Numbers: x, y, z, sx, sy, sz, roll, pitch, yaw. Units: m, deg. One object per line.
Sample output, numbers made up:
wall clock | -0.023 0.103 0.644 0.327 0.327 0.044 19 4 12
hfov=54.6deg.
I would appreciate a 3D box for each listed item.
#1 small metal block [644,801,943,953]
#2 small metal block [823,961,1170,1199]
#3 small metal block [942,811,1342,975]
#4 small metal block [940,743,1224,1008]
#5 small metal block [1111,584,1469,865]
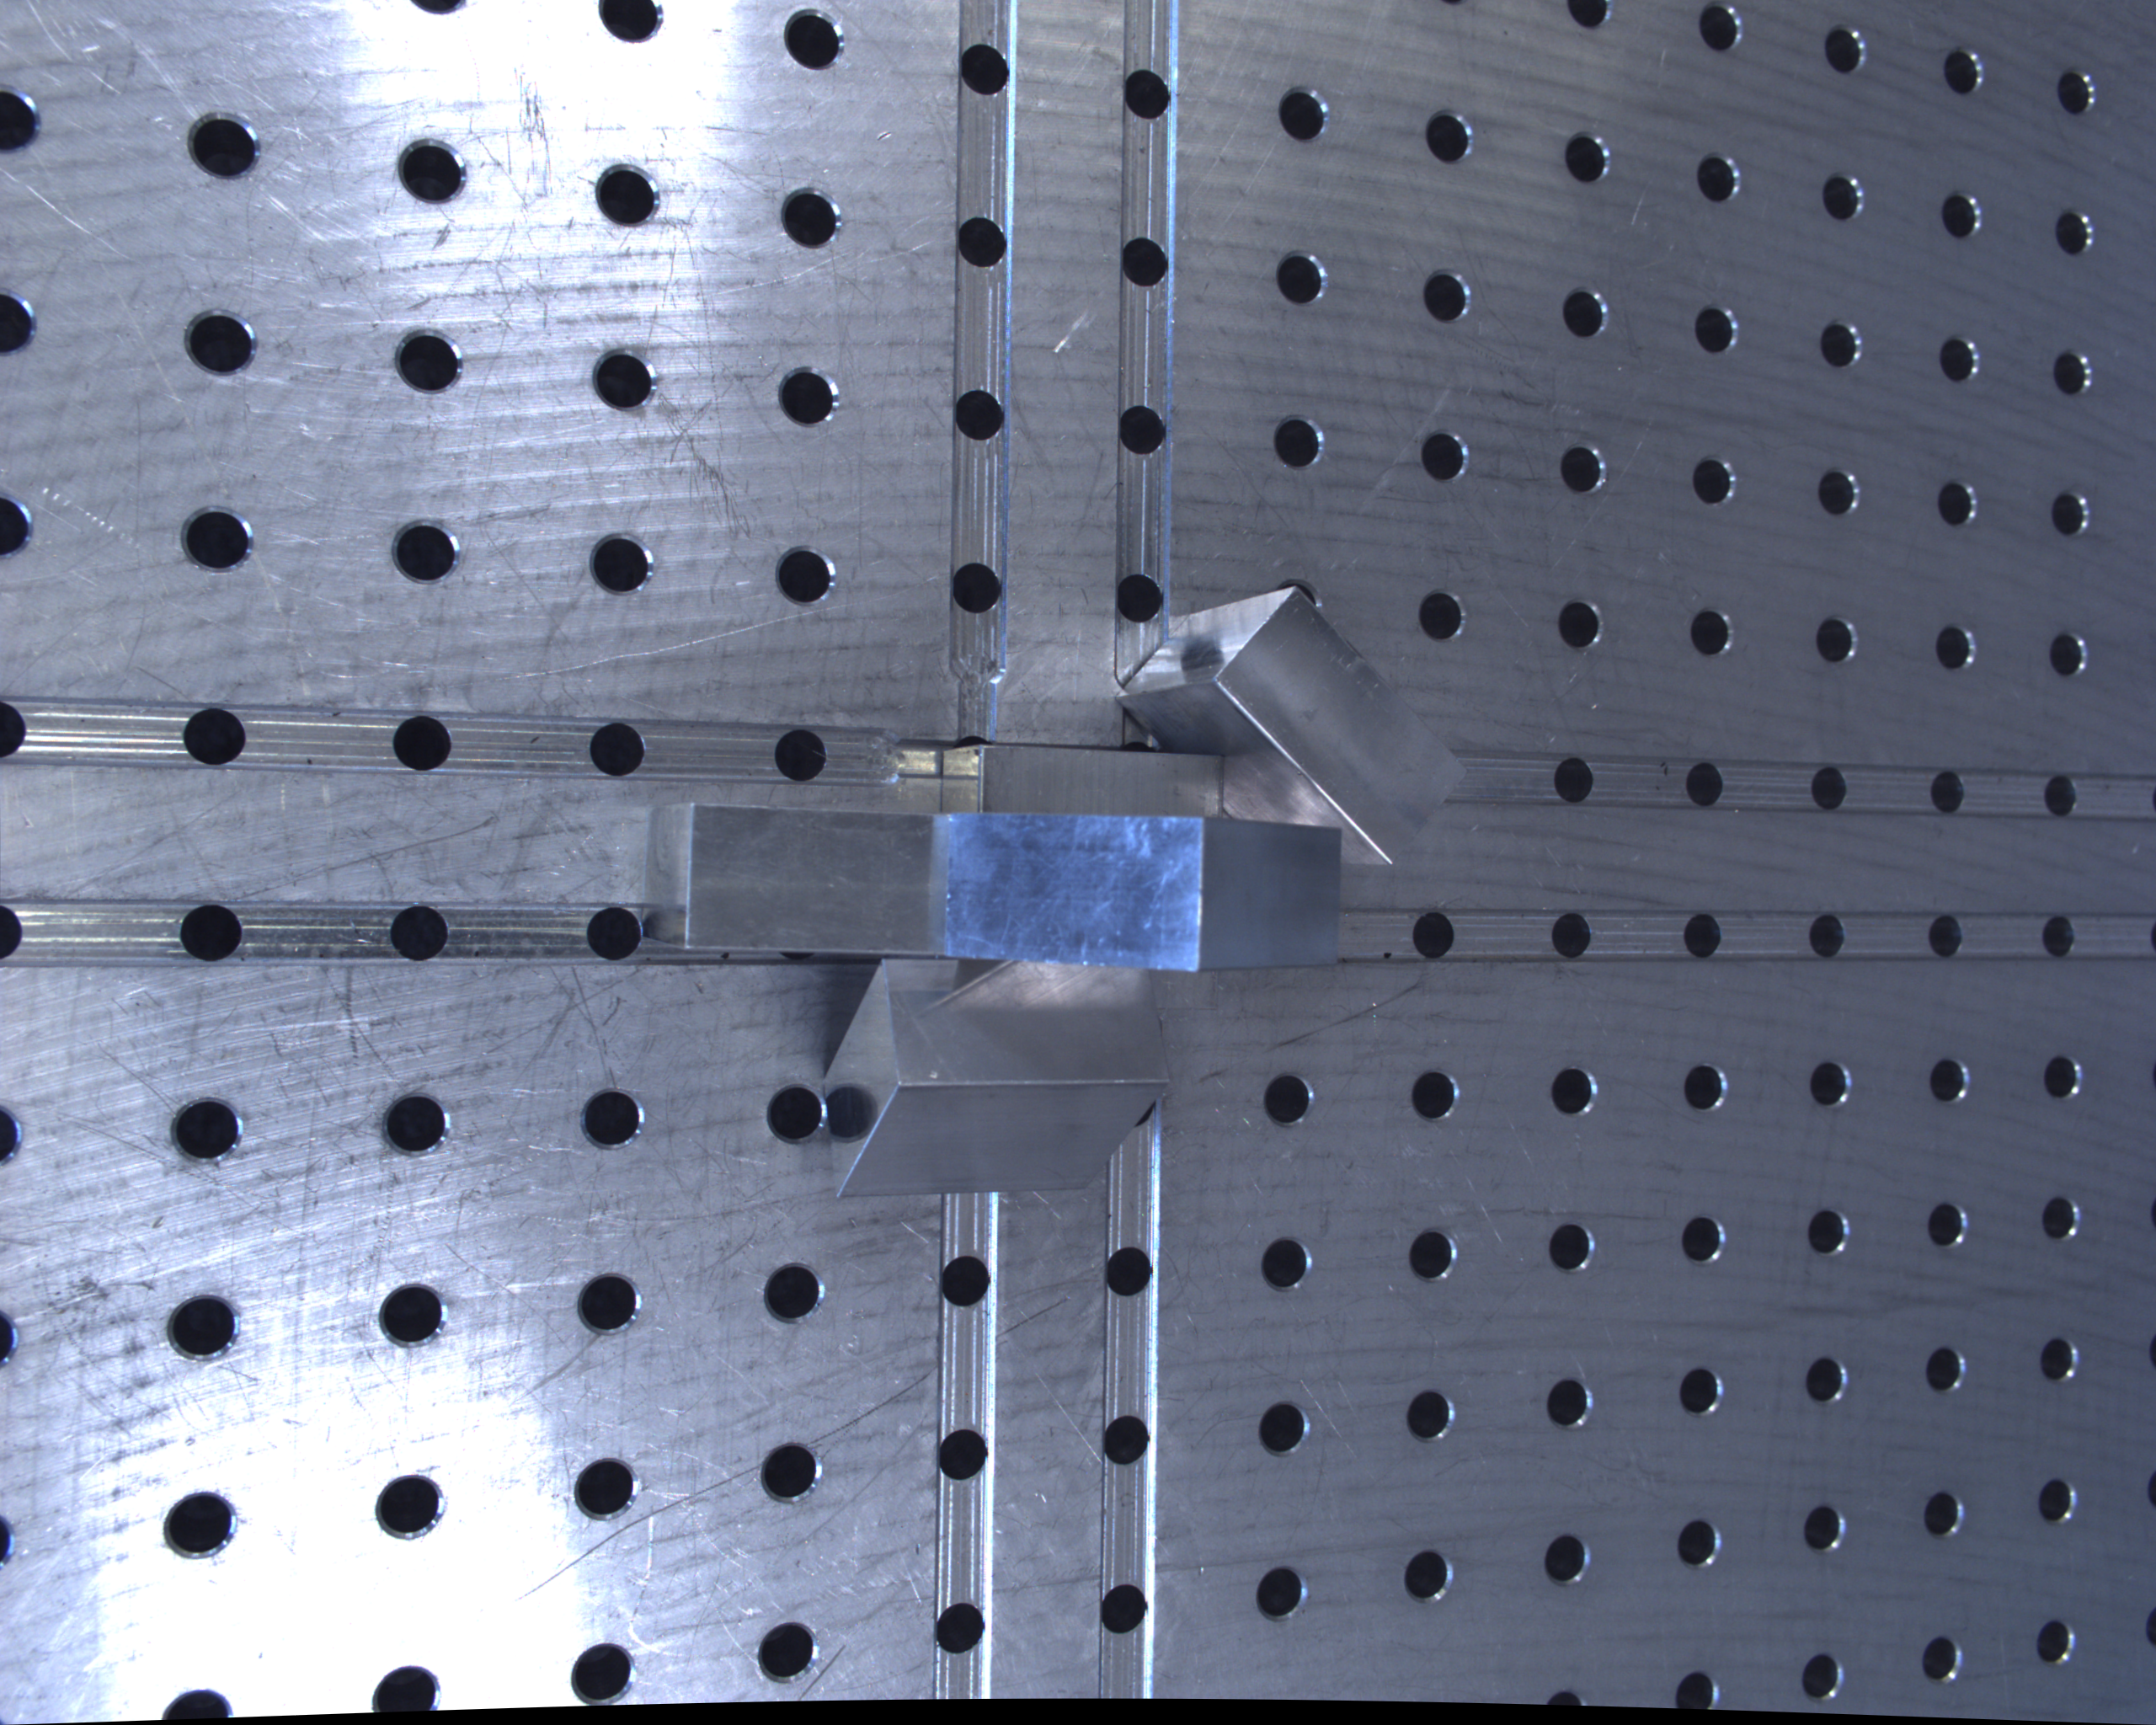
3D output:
small metal block | -0.050 0.003 0.380 0.050 0.050 0.025 2 90 -19
small metal block | -0.017 0.041 0.390 0.050 0.050 0.025 1 58 -20
small metal block | 0.012 0.005 0.366 0.050 0.050 0.025 3 89 -57
small metal block | 0.000 0.003 0.412 0.050 0.025 0.050 2 89 -21
small metal block | 0.041 -0.026 0.414 0.050 0.050 0.025 45 76 -15
